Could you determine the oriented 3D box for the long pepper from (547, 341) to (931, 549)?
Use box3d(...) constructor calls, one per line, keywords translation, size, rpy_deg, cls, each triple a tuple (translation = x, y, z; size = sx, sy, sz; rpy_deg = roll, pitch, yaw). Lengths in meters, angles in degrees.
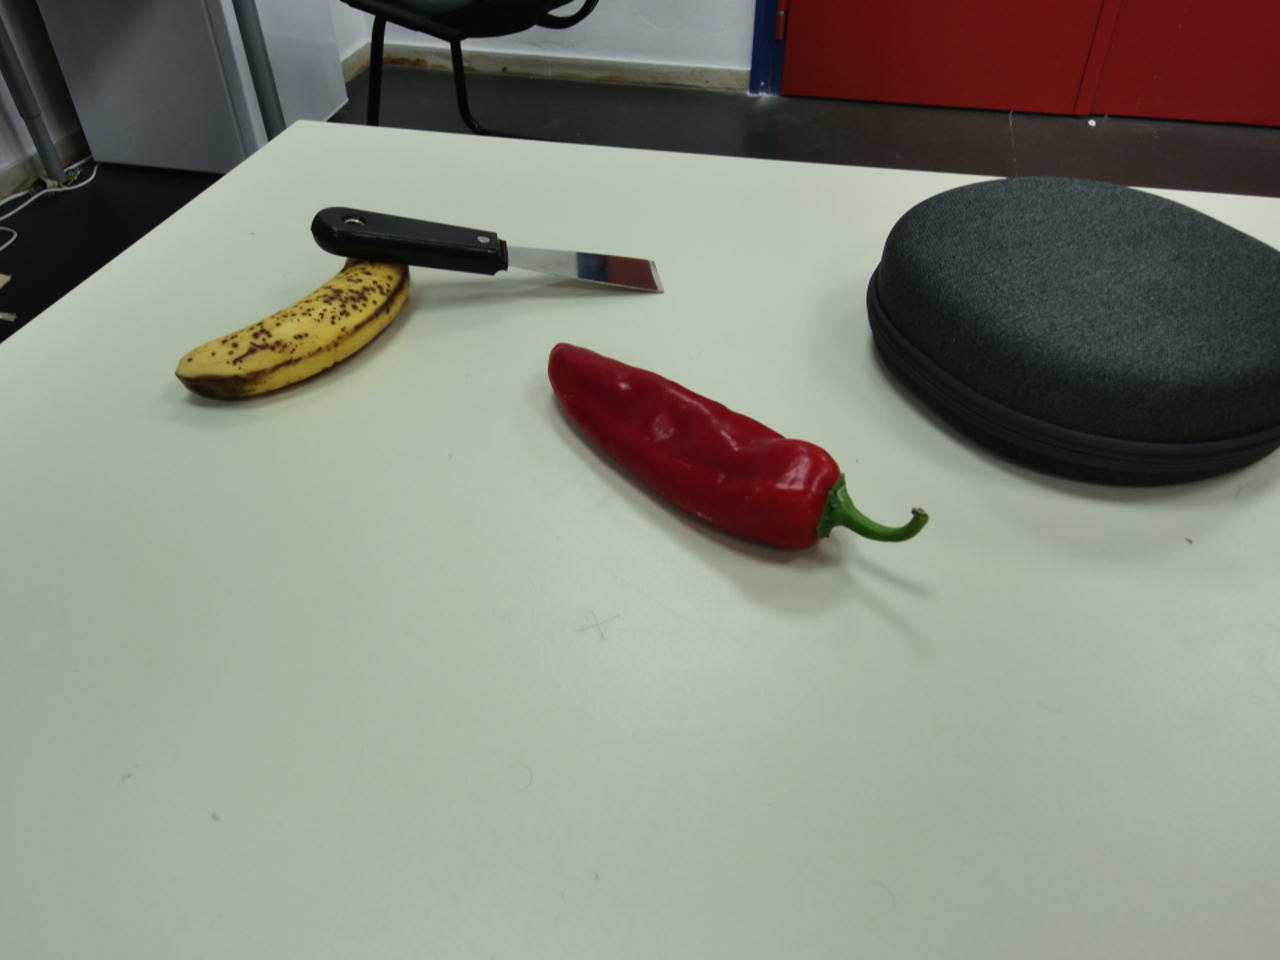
box3d(translation=(0.025, -0.016, 0.434), size=(0.050, 0.043, 0.211), rpy_deg=(-31, 47, -33), cls="long pepper")
